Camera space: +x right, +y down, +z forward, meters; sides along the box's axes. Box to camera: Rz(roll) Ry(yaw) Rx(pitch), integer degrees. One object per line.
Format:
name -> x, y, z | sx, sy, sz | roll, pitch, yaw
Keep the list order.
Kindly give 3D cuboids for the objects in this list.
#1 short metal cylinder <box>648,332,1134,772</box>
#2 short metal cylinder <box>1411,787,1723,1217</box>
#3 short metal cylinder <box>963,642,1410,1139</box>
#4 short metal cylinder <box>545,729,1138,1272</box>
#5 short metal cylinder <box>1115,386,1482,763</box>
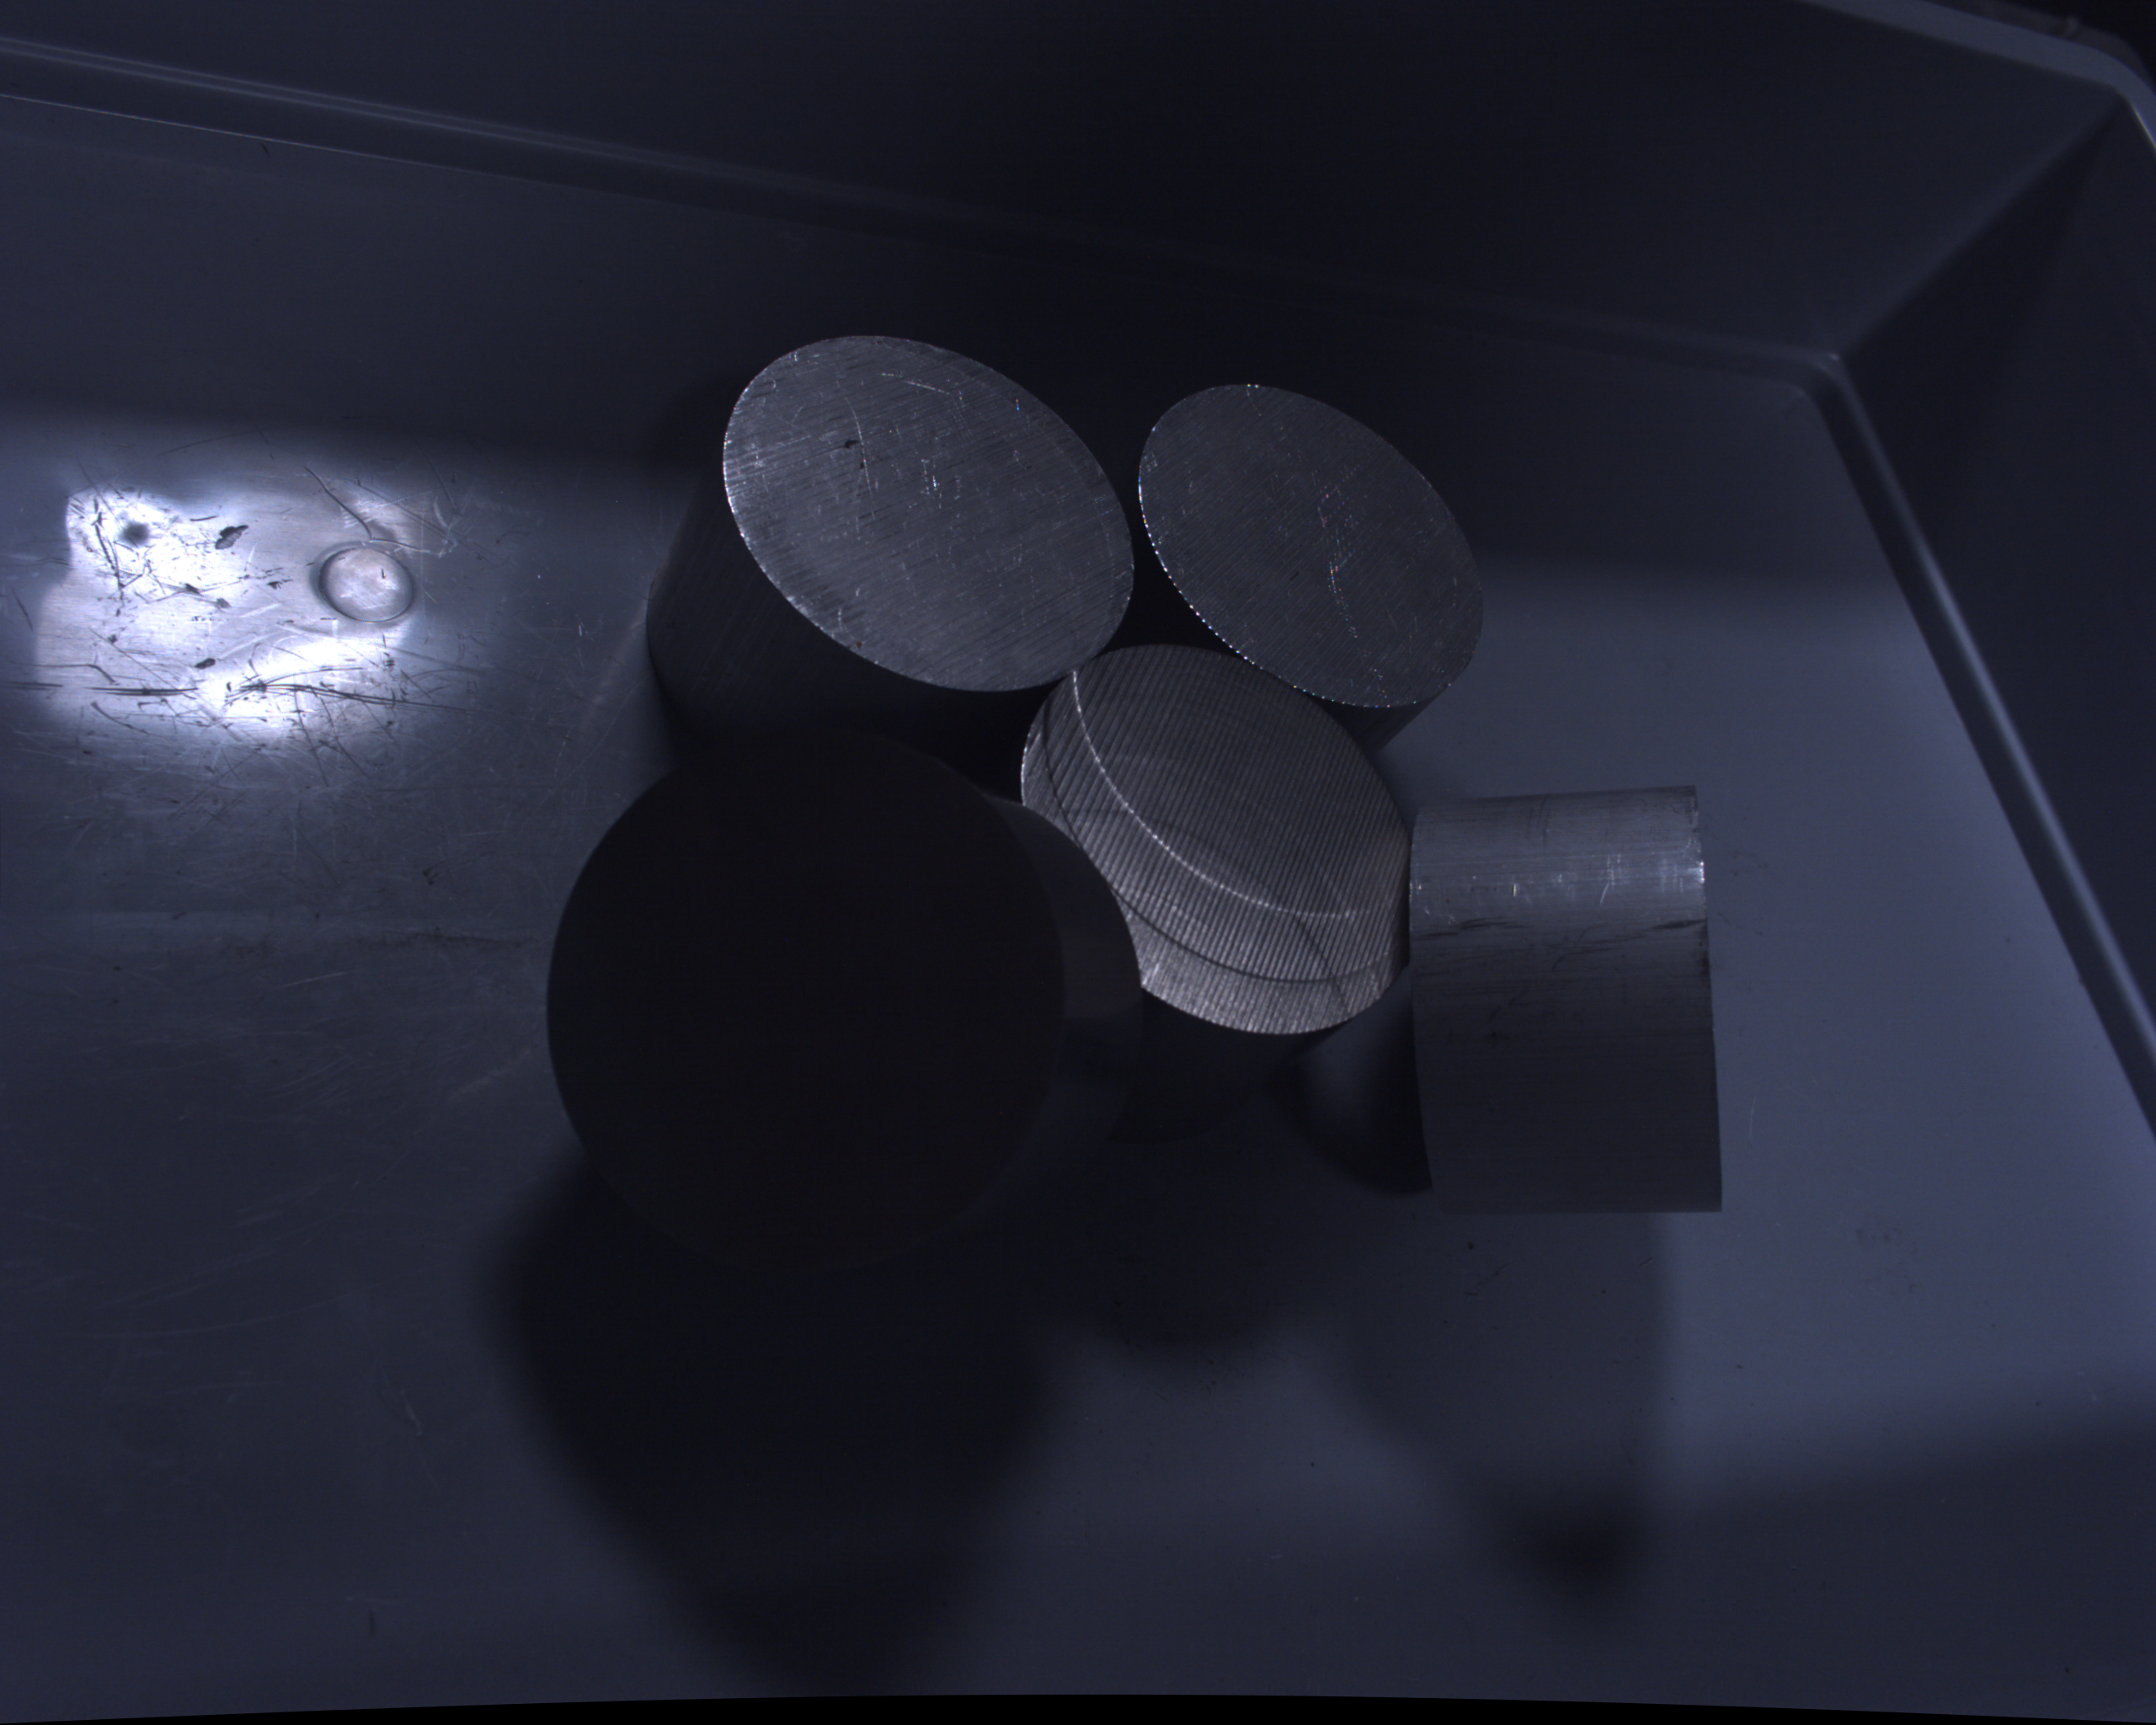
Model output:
short metal cylinder -> -0.036, -0.054, 0.401 | 0.081, 0.050, 0.080 | 14, 56, -21
short metal cylinder -> 0.094, 0.027, 0.396 | 0.050, 0.080, 0.080 | -4, 55, 15
short metal cylinder -> 0.017, 0.006, 0.393 | 0.081, 0.050, 0.080 | 14, 56, -21
short metal cylinder -> -0.035, 0.022, 0.330 | 0.080, 0.080, 0.050 | 59, 8, 13
short metal cylinder -> 0.038, -0.054, 0.443 | 0.081, 0.050, 0.080 | 14, 56, -21
